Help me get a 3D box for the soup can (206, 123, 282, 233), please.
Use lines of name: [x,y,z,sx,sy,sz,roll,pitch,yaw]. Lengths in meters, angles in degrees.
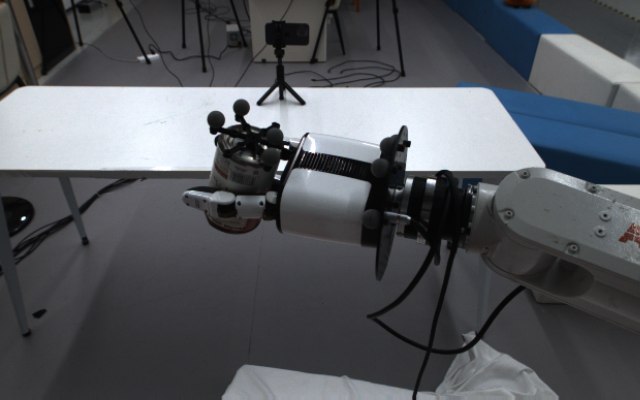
soup can: [-0.084,-0.021,0.525,0.067,0.101,0.067,14,40,-12]
